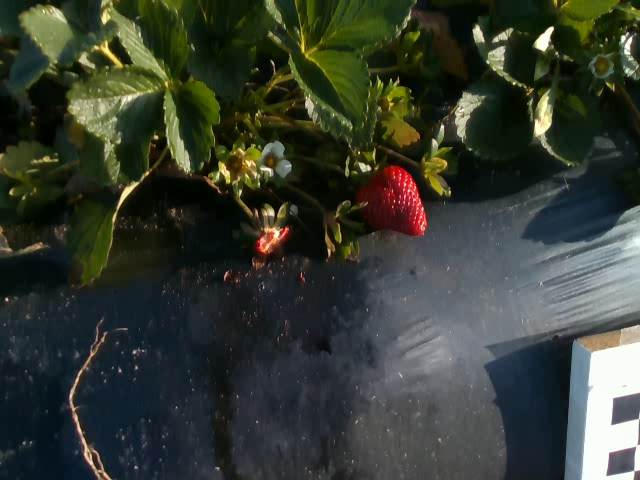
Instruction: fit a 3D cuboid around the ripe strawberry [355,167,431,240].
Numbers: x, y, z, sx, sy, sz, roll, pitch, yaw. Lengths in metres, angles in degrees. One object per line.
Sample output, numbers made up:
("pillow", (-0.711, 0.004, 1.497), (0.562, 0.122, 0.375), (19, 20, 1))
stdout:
("ripe strawberry", (0.053, -0.021, 0.395), (0.052, 0.051, 0.041), (-38, -37, 0))
